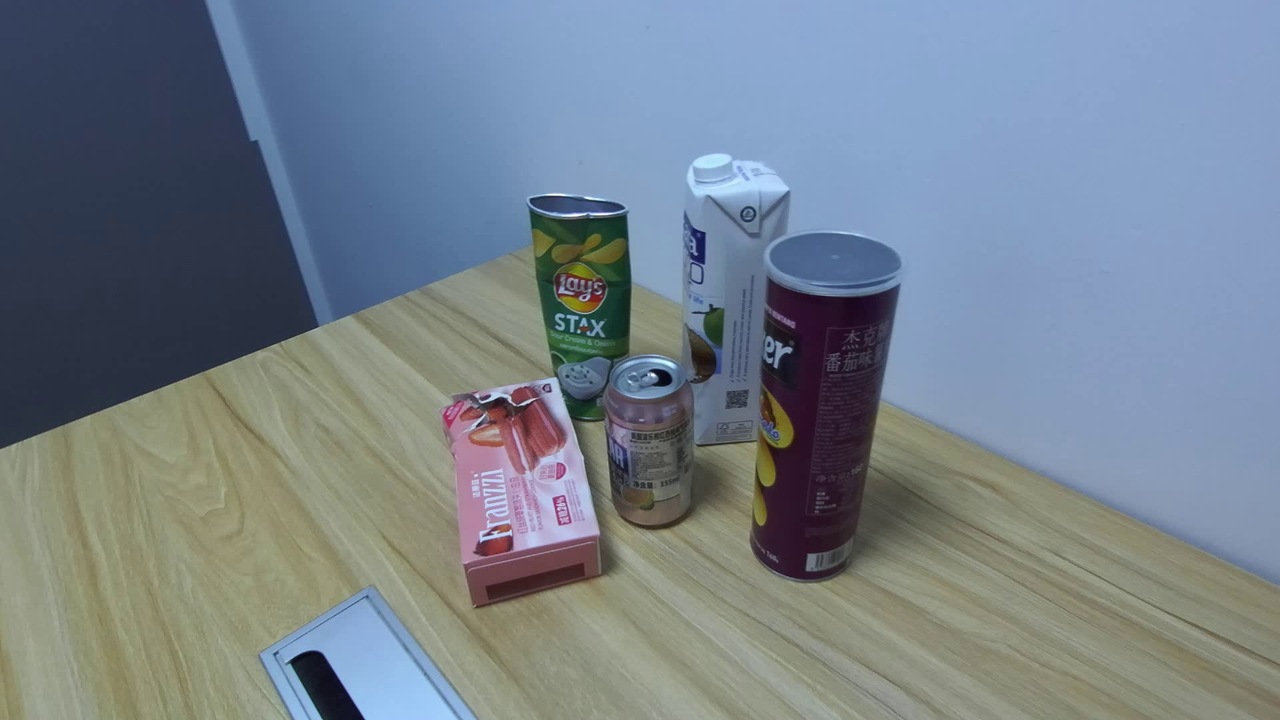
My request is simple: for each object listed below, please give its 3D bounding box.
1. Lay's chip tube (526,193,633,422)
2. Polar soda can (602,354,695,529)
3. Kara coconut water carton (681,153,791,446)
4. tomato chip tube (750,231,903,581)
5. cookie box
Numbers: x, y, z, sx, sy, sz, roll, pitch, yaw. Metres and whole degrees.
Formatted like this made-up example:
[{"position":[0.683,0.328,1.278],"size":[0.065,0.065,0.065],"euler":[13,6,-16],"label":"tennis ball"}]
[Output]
[{"position":[-0.047,-0.043,0.627],"size":[0.075,0.200,0.068],"euler":[-11,34,-12],"label":"Lay's chip tube"},{"position":[0.008,0.063,0.536],"size":[0.067,0.126,0.067],"euler":[-3,32,2],"label":"Polar soda can"},{"position":[0.074,-0.046,0.581],"size":[0.075,0.245,0.077],"euler":[-4,34,-4],"label":"Kara coconut water carton"},{"position":[0.115,0.040,0.457],"size":[0.078,0.234,0.078],"euler":[-3,35,2],"label":"tomato chip tube"},{"position":[-0.095,0.093,0.555],"size":[0.105,0.059,0.185],"euler":[-13,36,-11],"label":"cookie box"}]
